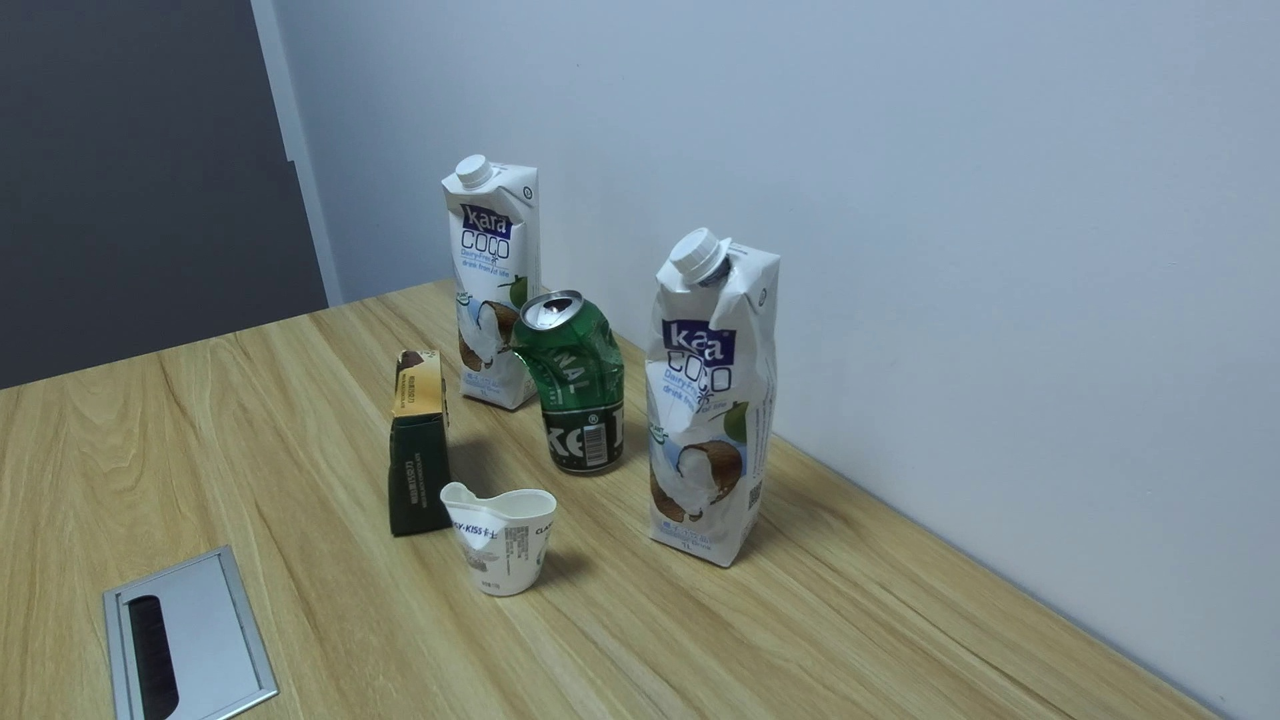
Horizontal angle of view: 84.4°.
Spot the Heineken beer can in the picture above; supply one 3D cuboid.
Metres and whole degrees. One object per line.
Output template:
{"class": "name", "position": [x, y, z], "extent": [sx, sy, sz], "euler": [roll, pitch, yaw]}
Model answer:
{"class": "Heineken beer can", "position": [-0.053, 0.020, 0.609], "extent": [0.079, 0.159, 0.067], "euler": [-25, 33, -24]}

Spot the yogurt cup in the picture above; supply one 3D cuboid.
{"class": "yogurt cup", "position": [-0.099, 0.125, 0.509], "extent": [0.075, 0.071, 0.053], "euler": [-7, 31, -12]}

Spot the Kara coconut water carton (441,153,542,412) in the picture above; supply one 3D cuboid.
{"class": "Kara coconut water carton", "position": [-0.136, -0.075, 0.686], "extent": [0.099, 0.244, 0.071], "euler": [12, 28, 26]}

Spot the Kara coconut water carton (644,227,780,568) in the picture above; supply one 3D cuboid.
{"class": "Kara coconut water carton", "position": [0.047, 0.025, 0.495], "extent": [0.083, 0.256, 0.078], "euler": [24, 40, 35]}

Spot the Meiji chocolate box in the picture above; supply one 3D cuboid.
{"class": "Meiji chocolate box", "position": [-0.184, 0.063, 0.580], "extent": [0.058, 0.111, 0.113], "euler": [-4, 28, -19]}
